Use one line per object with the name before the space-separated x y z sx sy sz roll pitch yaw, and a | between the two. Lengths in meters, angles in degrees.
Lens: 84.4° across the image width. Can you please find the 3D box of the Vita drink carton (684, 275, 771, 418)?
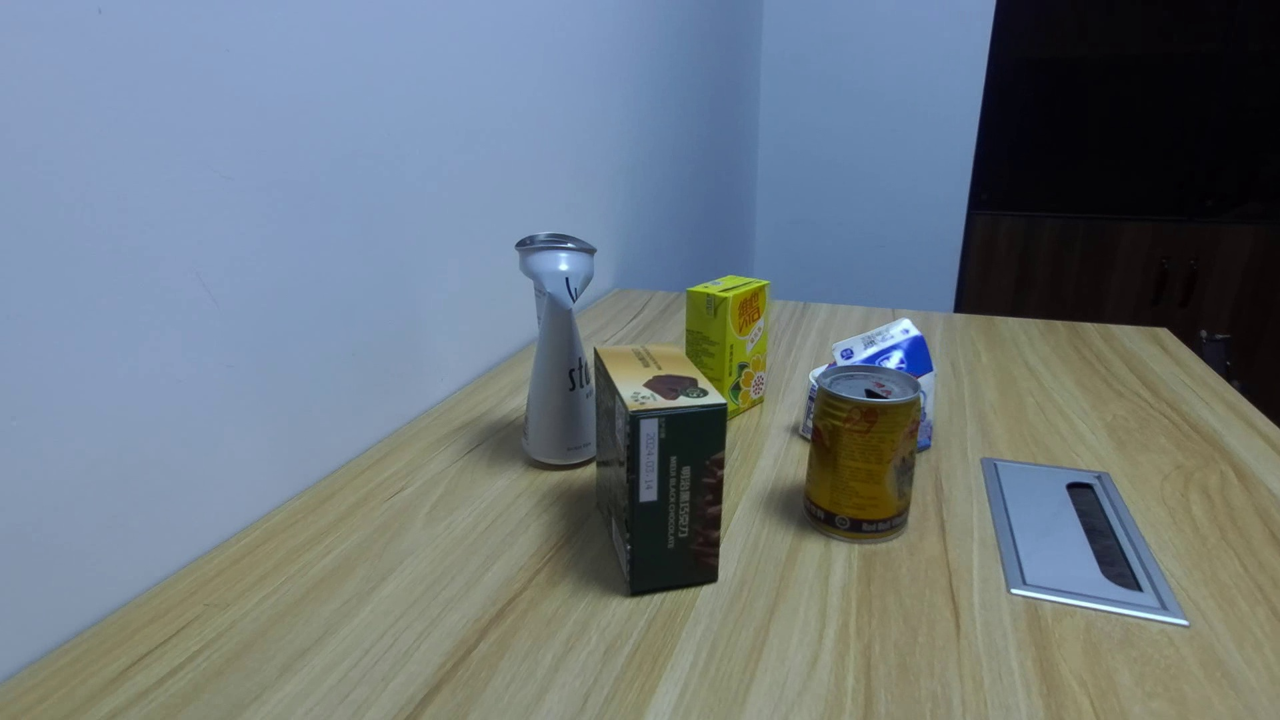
Vita drink carton | 0.073 -0.011 0.594 0.043 0.109 0.067 16 26 39

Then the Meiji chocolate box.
Meiji chocolate box | 0.007 0.057 0.412 0.056 0.109 0.109 -4 20 -12

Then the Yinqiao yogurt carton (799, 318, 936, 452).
Yinqiao yogurt carton | 0.177 0.018 0.536 0.083 0.093 0.077 -11 23 -29

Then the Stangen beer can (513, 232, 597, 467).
Stangen beer can | -0.057 -0.006 0.513 0.076 0.162 0.066 16 27 38

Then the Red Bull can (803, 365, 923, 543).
Red Bull can | 0.136 0.056 0.435 0.069 0.092 0.069 -1 21 1
